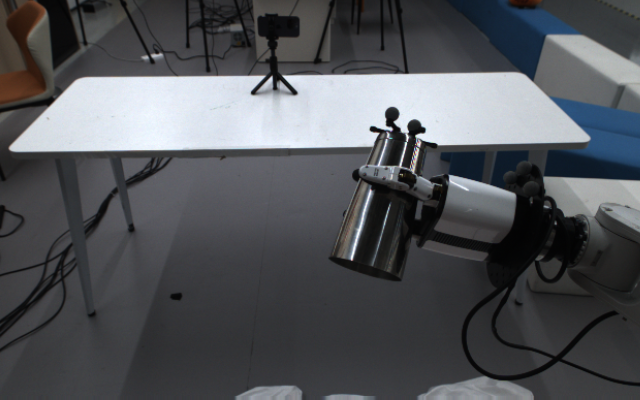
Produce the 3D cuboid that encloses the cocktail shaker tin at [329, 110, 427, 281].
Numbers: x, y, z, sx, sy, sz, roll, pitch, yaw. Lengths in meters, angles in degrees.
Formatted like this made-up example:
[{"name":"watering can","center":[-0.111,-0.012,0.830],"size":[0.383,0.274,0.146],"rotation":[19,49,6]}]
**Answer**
[{"name":"cocktail shaker tin","center":[0.080,0.005,0.599],"size":[0.093,0.093,0.170],"rotation":[14,76,17]}]
